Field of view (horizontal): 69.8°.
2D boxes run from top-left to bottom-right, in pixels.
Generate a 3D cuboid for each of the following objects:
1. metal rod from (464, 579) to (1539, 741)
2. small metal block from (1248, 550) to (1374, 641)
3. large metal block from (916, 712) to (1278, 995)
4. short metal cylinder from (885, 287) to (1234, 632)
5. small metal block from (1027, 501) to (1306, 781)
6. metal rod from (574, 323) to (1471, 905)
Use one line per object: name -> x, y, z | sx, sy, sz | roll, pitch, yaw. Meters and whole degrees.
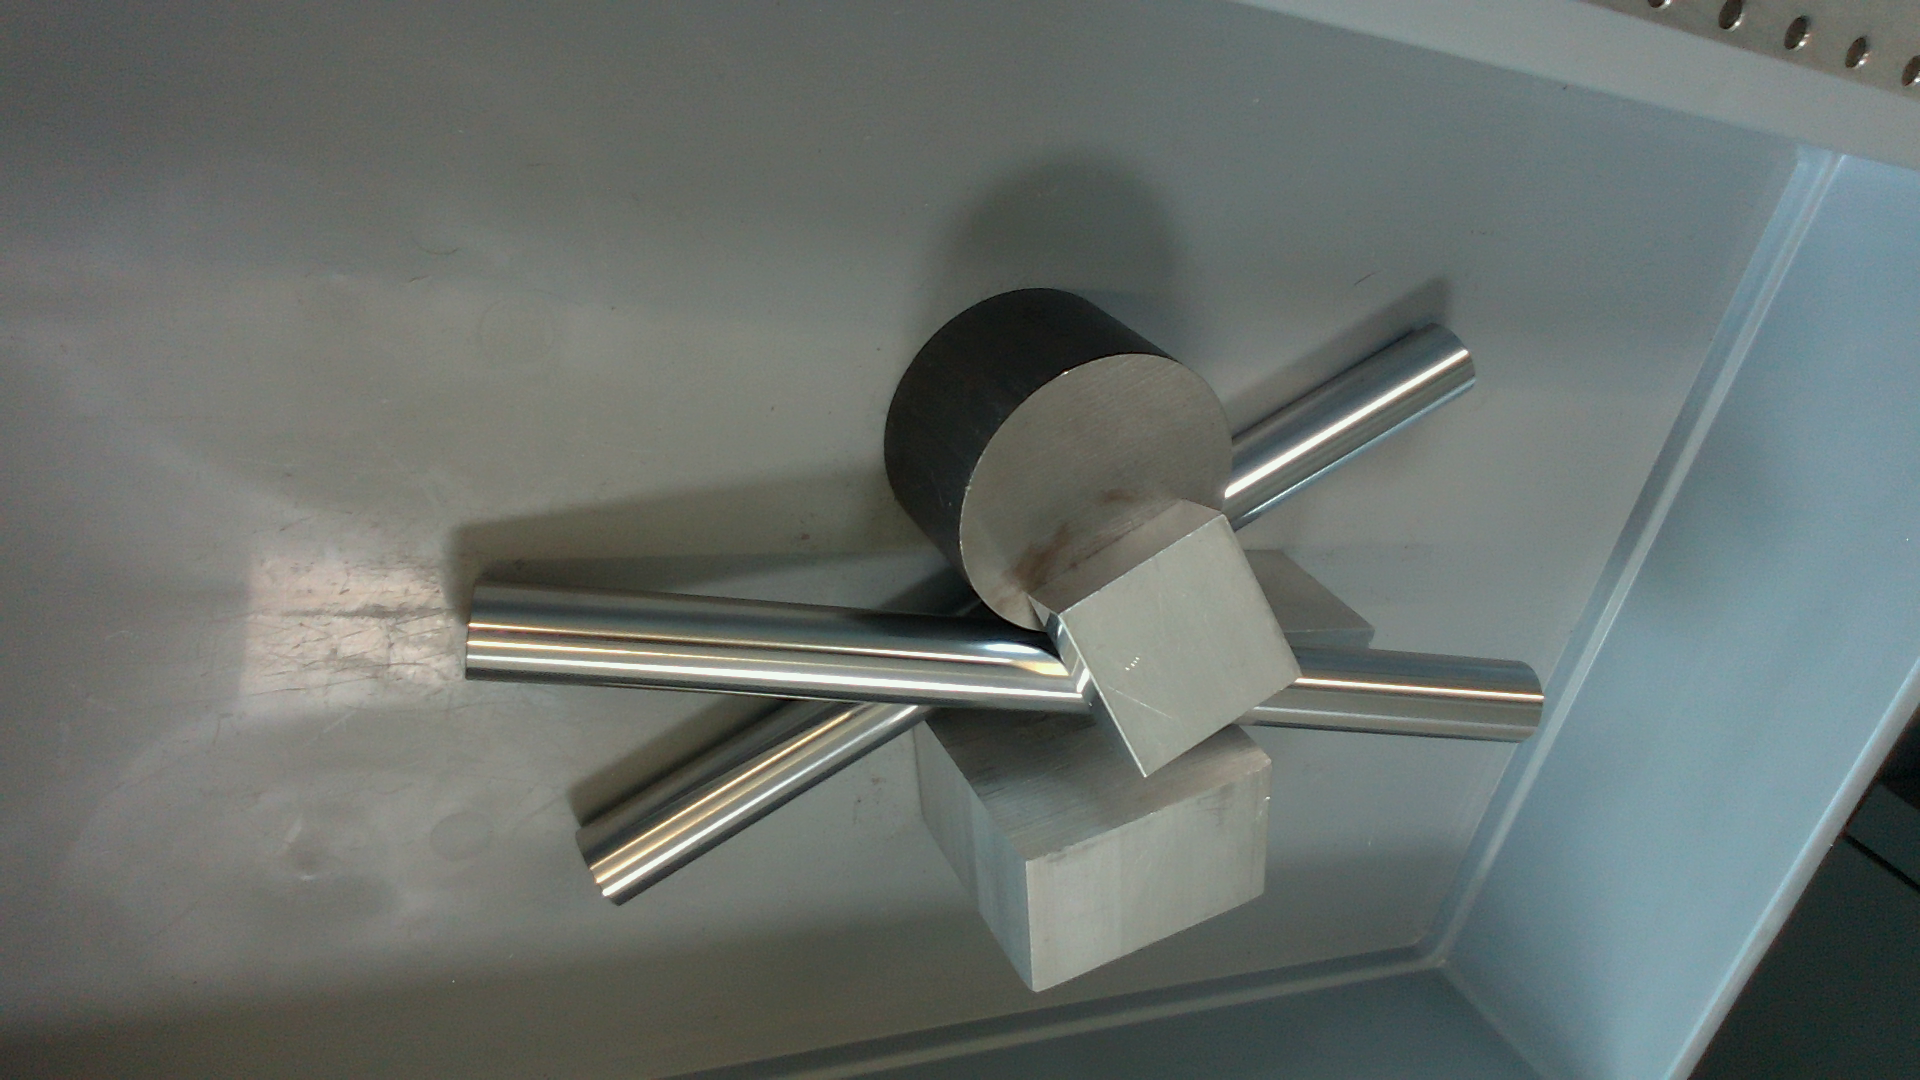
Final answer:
metal rod -> 0.024, 0.035, 0.377 | 0.301, 0.025, 0.025 | 5, 117, -16
small metal block -> 0.093, 0.026, 0.438 | 0.050, 0.050, 0.025 | 1, 118, -27
large metal block -> 0.038, 0.078, 0.420 | 0.080, 0.080, 0.050 | -17, 125, -19
short metal cylinder -> 0.026, -0.022, 0.372 | 0.080, 0.050, 0.080 | -13, 123, -21
small metal block -> 0.053, 0.025, 0.357 | 0.050, 0.025, 0.050 | -31, 106, -8
metal rod -> 0.025, 0.017, 0.413 | 0.300, 0.025, 0.025 | -30, 128, -9
